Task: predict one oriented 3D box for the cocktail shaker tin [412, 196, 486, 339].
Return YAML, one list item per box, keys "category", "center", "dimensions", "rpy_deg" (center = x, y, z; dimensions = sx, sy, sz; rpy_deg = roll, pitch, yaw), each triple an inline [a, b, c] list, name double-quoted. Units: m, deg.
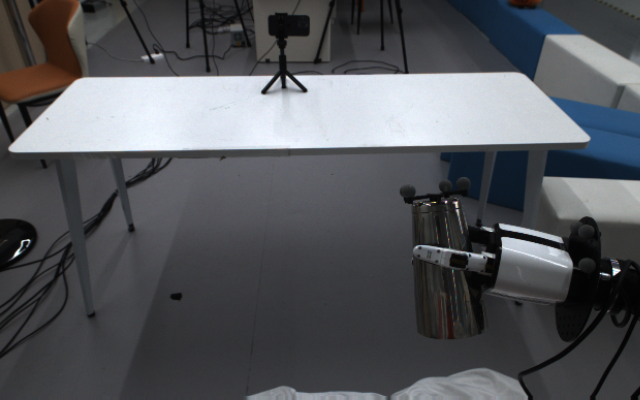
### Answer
- category: "cocktail shaker tin"
  center: [0.165, 0.086, 0.642]
  dimensions: [0.093, 0.170, 0.093]
  rpy_deg: [-8, 1, 0]
